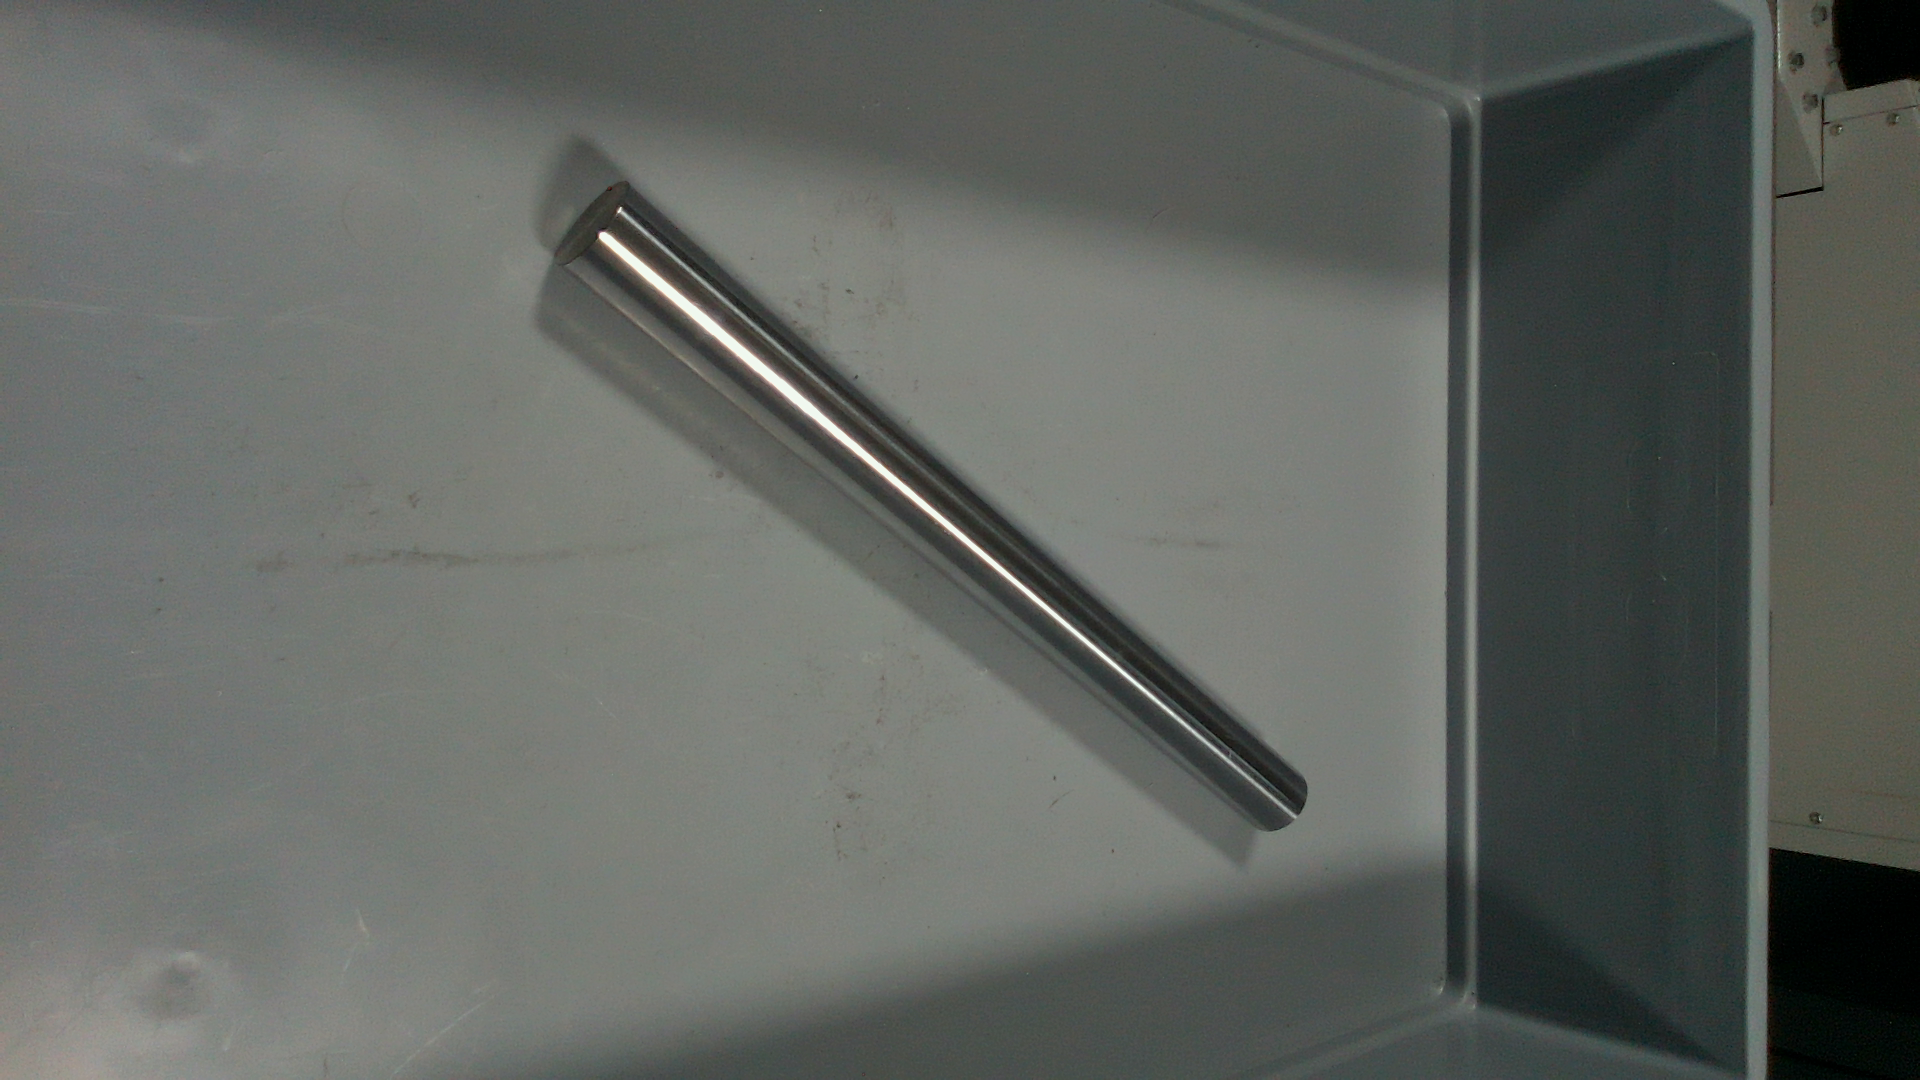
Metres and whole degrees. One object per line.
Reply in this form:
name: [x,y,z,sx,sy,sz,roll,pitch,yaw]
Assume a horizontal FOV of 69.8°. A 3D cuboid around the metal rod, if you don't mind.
metal rod: [0.013,0.008,0.397,0.301,0.025,0.025,40,66,-33]
